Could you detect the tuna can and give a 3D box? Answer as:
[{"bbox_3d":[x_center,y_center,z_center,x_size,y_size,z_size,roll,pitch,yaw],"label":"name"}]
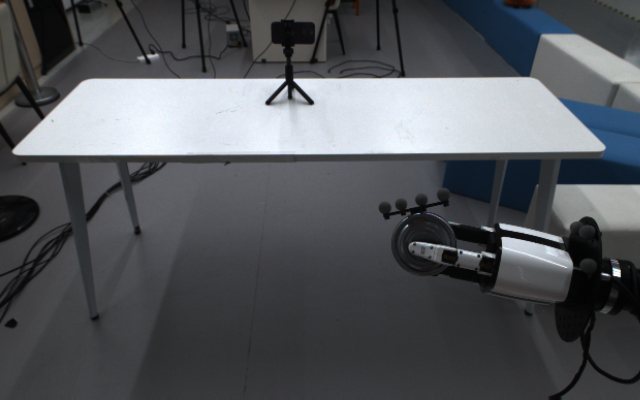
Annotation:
[{"bbox_3d":[0.143,0.064,0.646,0.085,0.085,0.034,12,3,14],"label":"tuna can"}]
